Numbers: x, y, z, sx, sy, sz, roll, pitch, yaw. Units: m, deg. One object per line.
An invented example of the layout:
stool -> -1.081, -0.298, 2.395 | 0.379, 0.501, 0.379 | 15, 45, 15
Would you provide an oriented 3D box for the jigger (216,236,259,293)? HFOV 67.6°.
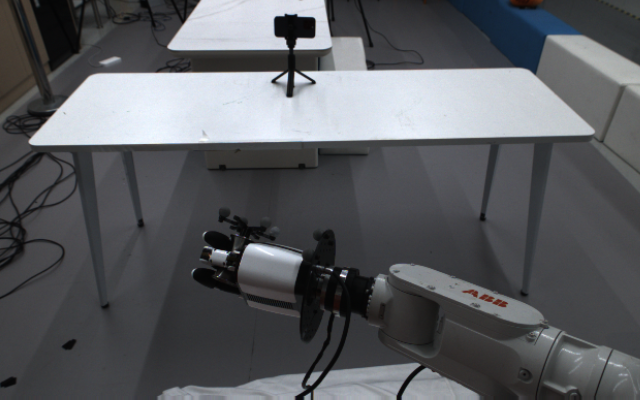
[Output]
jigger -> -0.122, 0.087, 0.706 | 0.043, 0.043, 0.071 | 13, 70, 16
